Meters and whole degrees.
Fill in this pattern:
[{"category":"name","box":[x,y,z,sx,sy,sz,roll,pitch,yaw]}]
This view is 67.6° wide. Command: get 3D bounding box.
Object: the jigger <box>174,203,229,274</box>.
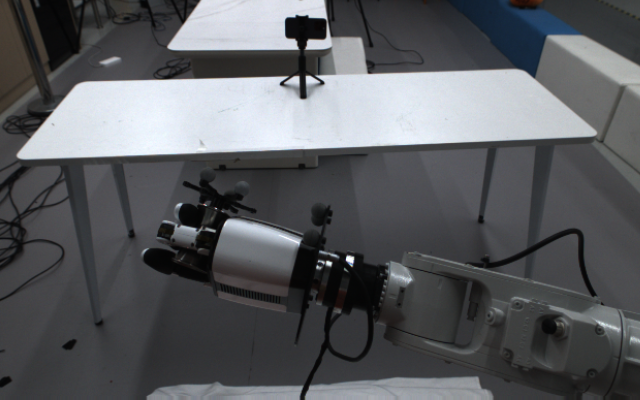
[{"category":"jigger","box":[-0.130,0.042,0.538,0.043,0.043,0.071,15,70,18]}]
